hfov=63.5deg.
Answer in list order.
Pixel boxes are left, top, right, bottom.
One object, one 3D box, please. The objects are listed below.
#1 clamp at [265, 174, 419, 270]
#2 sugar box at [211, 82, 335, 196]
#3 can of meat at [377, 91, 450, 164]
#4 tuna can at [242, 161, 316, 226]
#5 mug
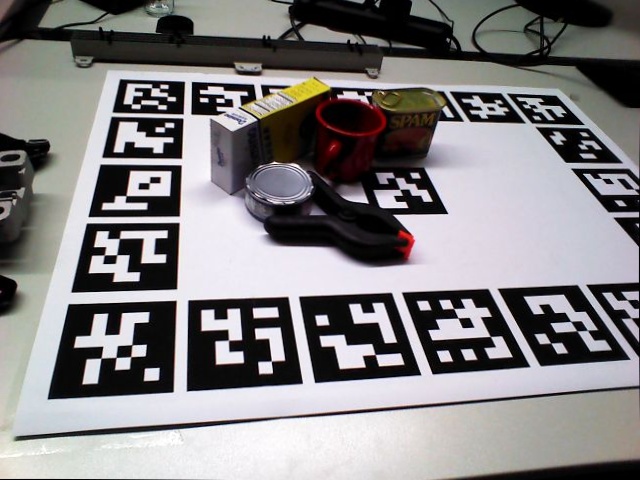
[{"bbox_3d":[0.034,-0.013,0.597,0.165,0.037,0.121,27,42,10],"label":"clamp"},{"bbox_3d":[-0.057,-0.132,0.660,0.045,0.093,0.175,36,49,26],"label":"sugar box"},{"bbox_3d":[0.126,-0.158,0.725,0.101,0.084,0.057,-6,46,-18],"label":"can of meat"},{"bbox_3d":[-0.050,-0.054,0.616,0.086,0.034,0.085,5,47,-6],"label":"tuna can"},{"bbox_3d":[0.036,-0.125,0.666,0.093,0.082,0.116,17,47,6],"label":"mug"}]
